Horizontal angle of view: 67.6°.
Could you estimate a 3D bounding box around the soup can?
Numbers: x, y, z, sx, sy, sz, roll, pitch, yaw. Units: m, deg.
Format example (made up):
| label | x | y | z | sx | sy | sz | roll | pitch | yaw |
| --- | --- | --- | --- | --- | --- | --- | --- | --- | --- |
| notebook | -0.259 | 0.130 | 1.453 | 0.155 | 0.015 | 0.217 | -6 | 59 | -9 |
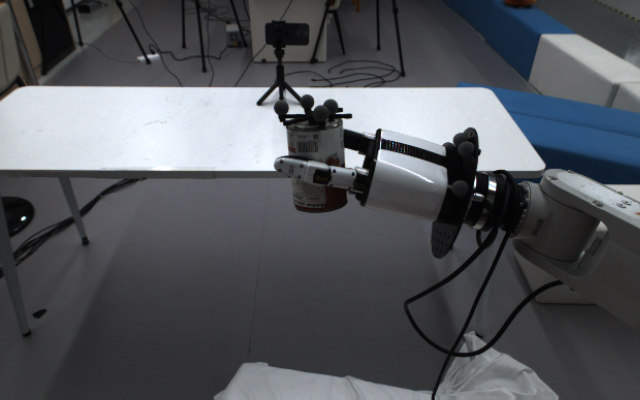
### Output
| label | x | y | z | sx | sy | sz | roll | pitch | yaw |
| --- | --- | --- | --- | --- | --- | --- | --- | --- | --- |
| soup can | -0.001 | -0.044 | 0.576 | 0.067 | 0.101 | 0.067 | -4 | 21 | 1 |
